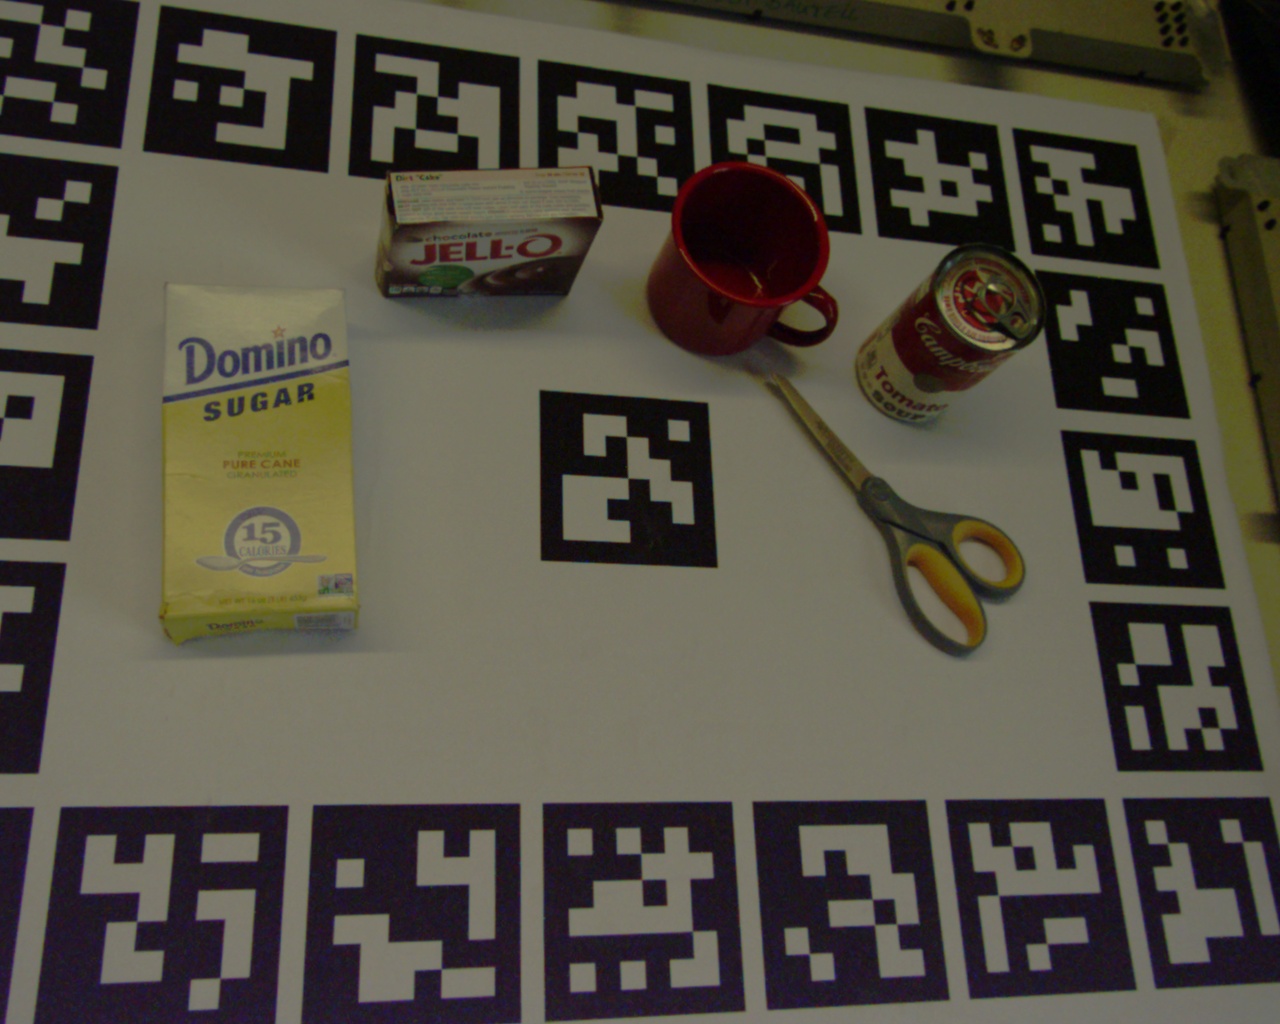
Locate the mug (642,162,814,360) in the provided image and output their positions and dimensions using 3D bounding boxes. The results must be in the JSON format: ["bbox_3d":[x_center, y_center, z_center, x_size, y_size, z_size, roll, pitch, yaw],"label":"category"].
[{"bbox_3d":[0.055,-0.142,0.698,0.093,0.082,0.117,-36,84,-19],"label":"mug"}]

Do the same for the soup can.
[{"bbox_3d":[0.169,-0.101,0.711,0.067,0.102,0.068,4,72,-13],"label":"soup can"}]

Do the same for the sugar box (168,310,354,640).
[{"bbox_3d":[-0.205,-0.022,0.620,0.092,0.045,0.177,-2,76,-13],"label":"sugar box"}]

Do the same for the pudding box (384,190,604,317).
[{"bbox_3d":[-0.087,-0.148,0.656,0.113,0.090,0.039,-8,83,-17],"label":"pudding box"}]

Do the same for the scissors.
[{"bbox_3d":[0.142,-0.001,0.711,0.087,0.016,0.203,-42,88,-12],"label":"scissors"}]
